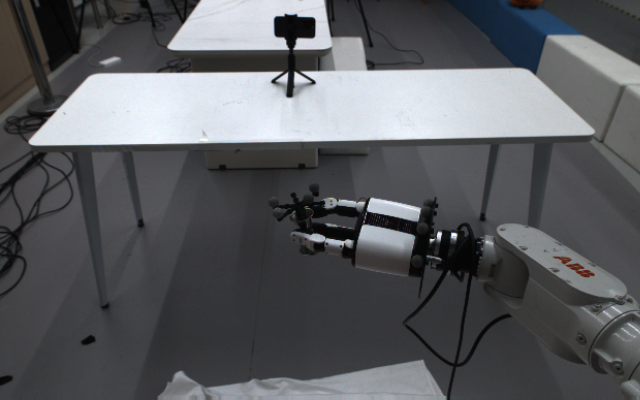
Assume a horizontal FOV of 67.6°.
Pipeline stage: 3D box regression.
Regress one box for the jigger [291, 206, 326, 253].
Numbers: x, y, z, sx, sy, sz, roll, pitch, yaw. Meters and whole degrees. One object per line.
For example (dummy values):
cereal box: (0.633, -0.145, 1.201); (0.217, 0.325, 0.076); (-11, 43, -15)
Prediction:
jigger: (-0.021, 0.051, 0.788); (0.043, 0.071, 0.043); (-12, 29, 7)
